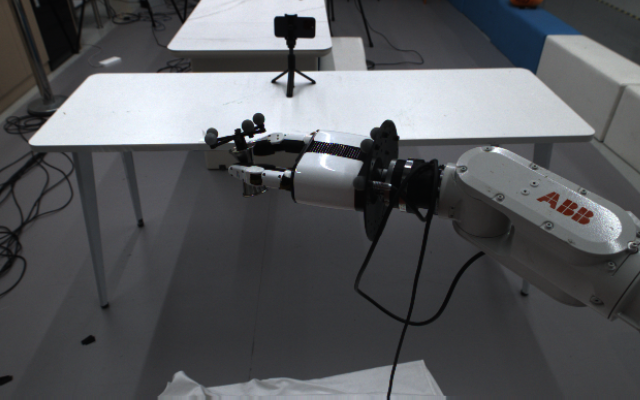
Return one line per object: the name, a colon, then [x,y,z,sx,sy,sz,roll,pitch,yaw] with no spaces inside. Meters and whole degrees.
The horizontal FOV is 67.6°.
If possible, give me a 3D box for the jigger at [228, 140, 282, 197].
jigger: [-0.100,-0.043,0.695,0.043,0.071,0.043,-14,22,6]
